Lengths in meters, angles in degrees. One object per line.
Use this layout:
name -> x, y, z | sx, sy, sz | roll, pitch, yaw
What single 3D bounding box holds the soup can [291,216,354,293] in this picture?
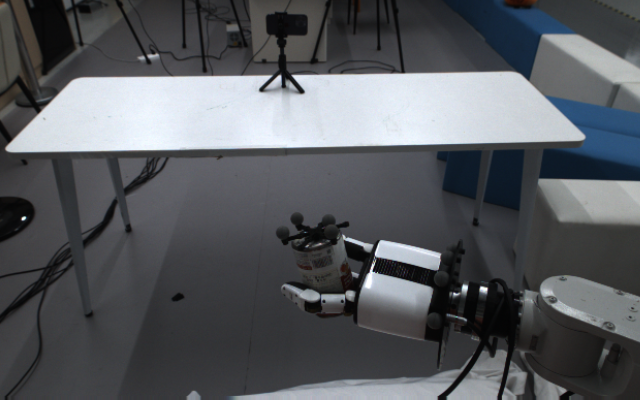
soup can -> 0.008, 0.092, 0.628 | 0.067, 0.101, 0.067 | -12, 19, 4
